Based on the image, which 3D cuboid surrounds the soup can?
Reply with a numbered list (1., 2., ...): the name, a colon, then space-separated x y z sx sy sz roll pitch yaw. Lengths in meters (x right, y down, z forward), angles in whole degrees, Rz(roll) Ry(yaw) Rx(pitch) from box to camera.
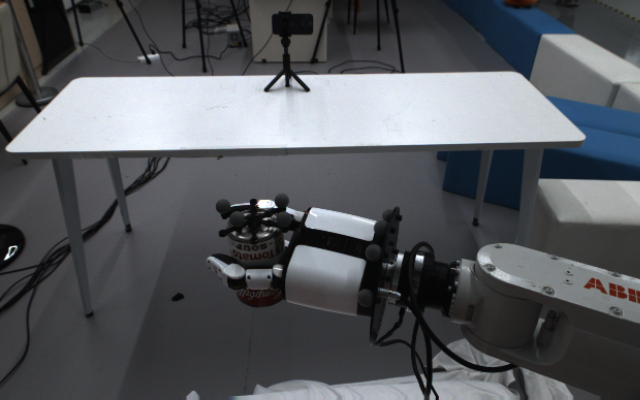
1. soup can: -0.072 0.070 0.587 0.067 0.101 0.067 -2 32 1
